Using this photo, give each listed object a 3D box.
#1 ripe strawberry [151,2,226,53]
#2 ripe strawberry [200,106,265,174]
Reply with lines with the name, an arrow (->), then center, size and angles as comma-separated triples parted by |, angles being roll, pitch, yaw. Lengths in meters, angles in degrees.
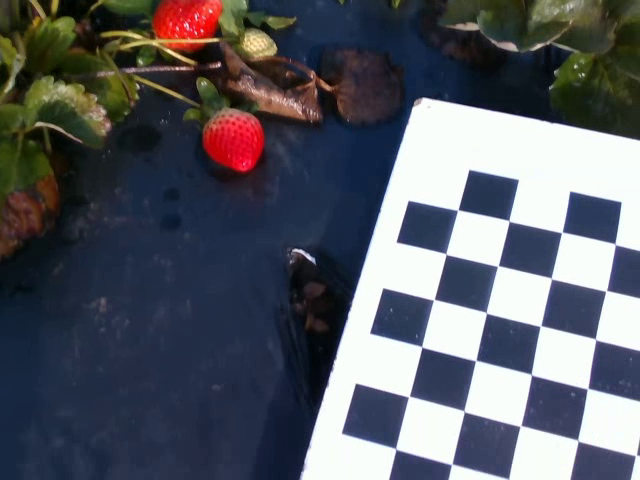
ripe strawberry -> -0.074, -0.128, 0.371 | 0.031, 0.040, 0.048 | 24, -32, -39
ripe strawberry -> -0.044, -0.050, 0.337 | 0.035, 0.043, 0.030 | -20, -28, -6
